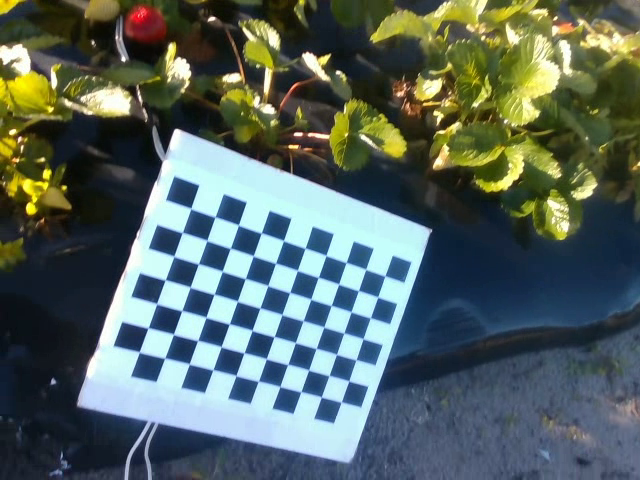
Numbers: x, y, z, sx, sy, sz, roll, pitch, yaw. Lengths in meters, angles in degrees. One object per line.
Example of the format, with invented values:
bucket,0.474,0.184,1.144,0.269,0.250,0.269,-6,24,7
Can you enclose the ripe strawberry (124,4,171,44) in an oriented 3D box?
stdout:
ripe strawberry,-0.211,-0.274,0.698,0.040,0.062,0.080,-28,22,34
